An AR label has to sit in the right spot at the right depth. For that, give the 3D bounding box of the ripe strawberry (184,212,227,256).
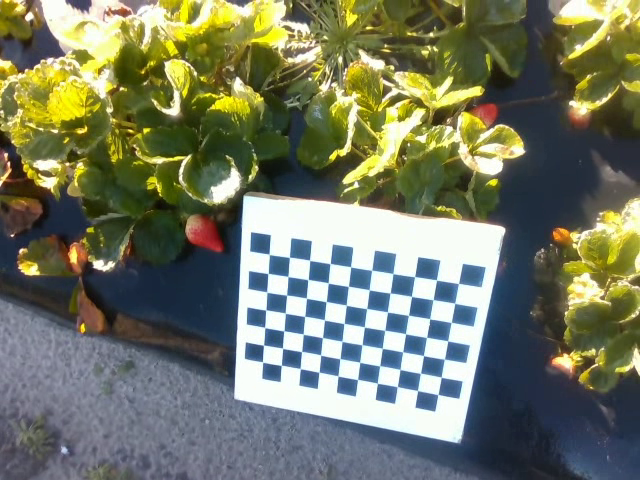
[{"bbox_3d":[-0.151,-0.003,0.792,0.040,0.065,0.040,-41,6,18],"label":"ripe strawberry"}]
